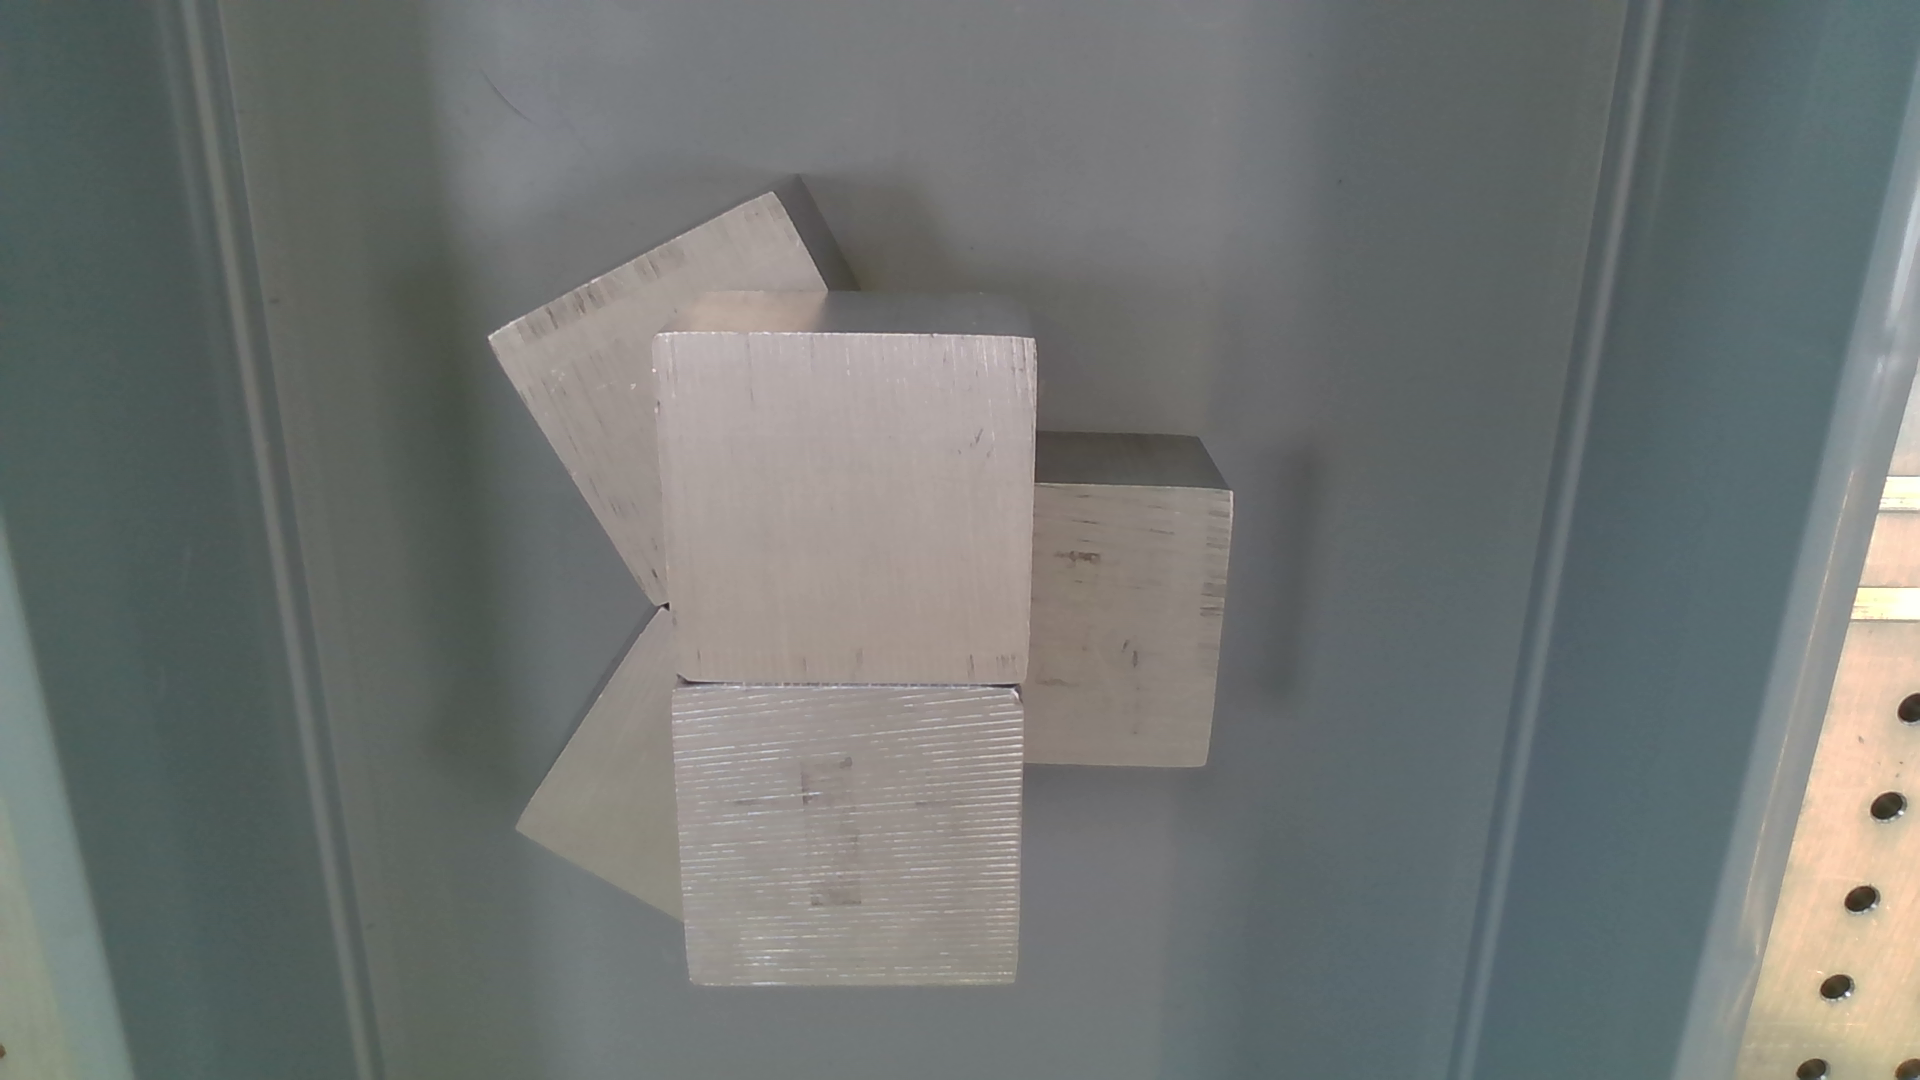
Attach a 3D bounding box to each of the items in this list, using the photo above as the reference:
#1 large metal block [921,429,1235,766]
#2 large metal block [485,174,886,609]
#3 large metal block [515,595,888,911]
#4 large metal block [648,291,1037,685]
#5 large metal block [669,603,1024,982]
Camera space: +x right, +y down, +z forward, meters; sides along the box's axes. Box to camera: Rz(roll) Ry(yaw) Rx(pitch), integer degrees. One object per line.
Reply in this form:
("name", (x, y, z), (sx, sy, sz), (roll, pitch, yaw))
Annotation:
("large metal block", (0.029, 0.014, 0.384), (0.080, 0.050, 0.080), (1, 110, 0))
("large metal block", (-0.062, -0.041, 0.364), (0.080, 0.050, 0.080), (-25, 108, 9))
("large metal block", (-0.067, 0.059, 0.400), (0.080, 0.050, 0.080), (32, 106, -11))
("large metal block", (-0.025, -0.014, 0.321), (0.080, 0.050, 0.080), (1, 110, 0))
("large metal block", (-0.026, 0.062, 0.347), (0.080, 0.050, 0.080), (1, 110, 0))
